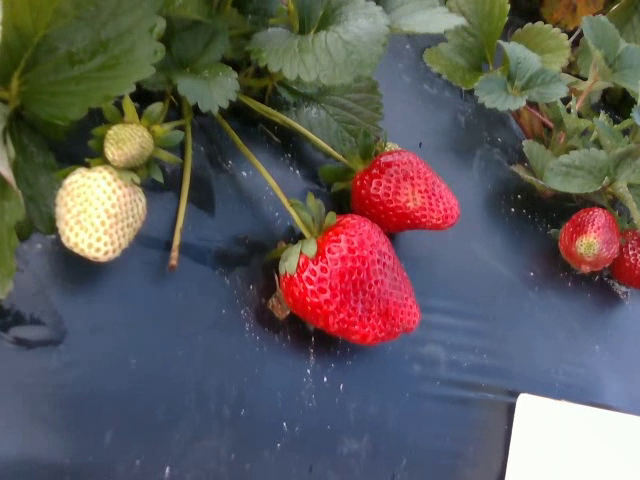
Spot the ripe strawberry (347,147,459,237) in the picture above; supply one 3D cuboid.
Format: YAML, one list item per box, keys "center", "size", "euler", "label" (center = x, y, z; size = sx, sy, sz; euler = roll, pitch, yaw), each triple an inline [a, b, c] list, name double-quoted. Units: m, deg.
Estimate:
- center: [0.046, -0.021, 0.305]
  size: [0.059, 0.051, 0.051]
  euler: [31, -13, 29]
  label: "ripe strawberry"

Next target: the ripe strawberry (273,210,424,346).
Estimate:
- center: [0.018, 0.021, 0.262]
  size: [0.065, 0.059, 0.043]
  euler: [43, -13, -1]
  label: "ripe strawberry"

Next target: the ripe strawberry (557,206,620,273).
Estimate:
- center: [0.156, 0.003, 0.356]
  size: [0.038, 0.047, 0.053]
  euler: [1, 8, 32]
  label: "ripe strawberry"
